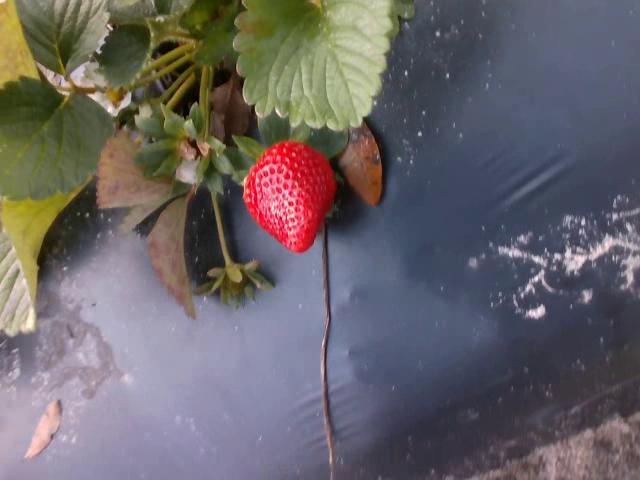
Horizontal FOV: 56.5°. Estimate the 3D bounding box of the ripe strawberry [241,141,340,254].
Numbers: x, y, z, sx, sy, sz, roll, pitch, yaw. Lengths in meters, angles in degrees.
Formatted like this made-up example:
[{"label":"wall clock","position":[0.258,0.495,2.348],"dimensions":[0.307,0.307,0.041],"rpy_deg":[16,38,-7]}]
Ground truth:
[{"label":"ripe strawberry","position":[-0.012,-0.014,0.261],"dimensions":[0.050,0.053,0.049],"rpy_deg":[-32,-43,19]}]
